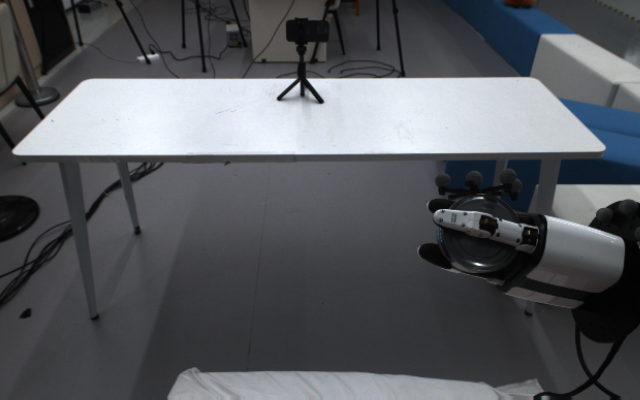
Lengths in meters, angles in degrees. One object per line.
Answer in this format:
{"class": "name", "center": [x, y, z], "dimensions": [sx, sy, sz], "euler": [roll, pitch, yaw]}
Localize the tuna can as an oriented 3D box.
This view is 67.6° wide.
{"class": "tuna can", "center": [0.177, 0.035, 0.537], "dimensions": [0.085, 0.034, 0.085], "euler": [0, 77, 1]}
